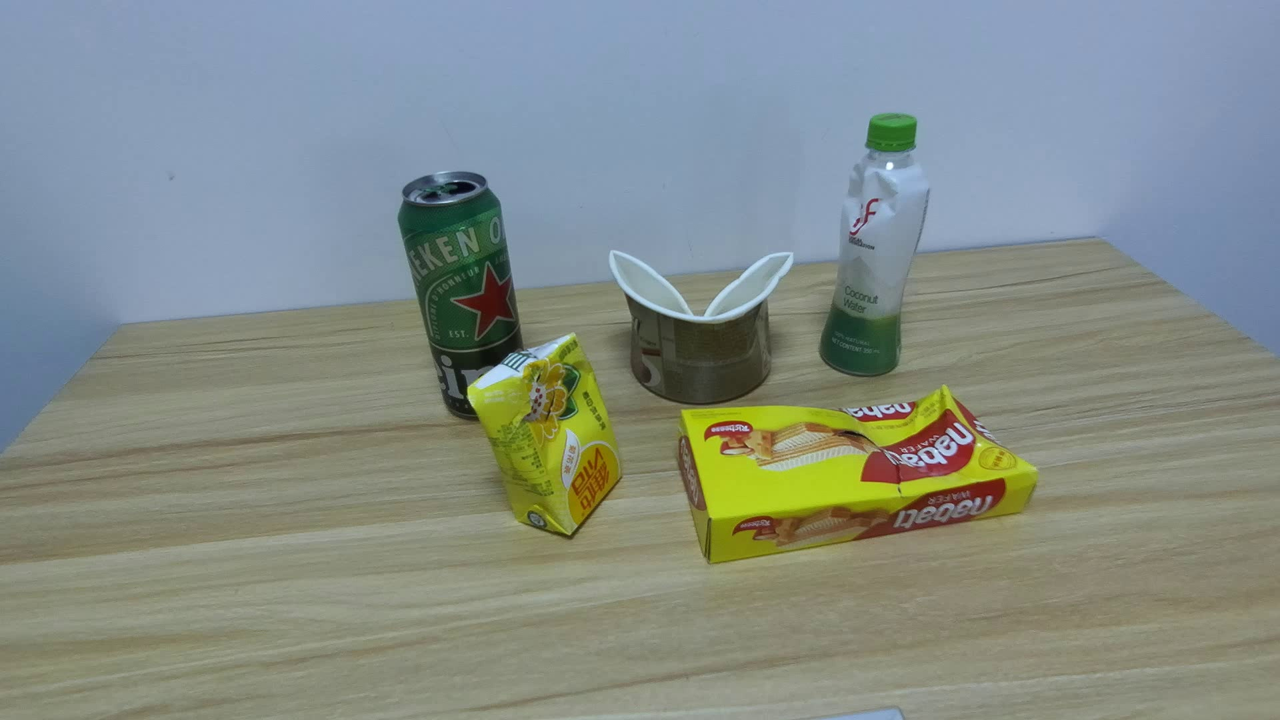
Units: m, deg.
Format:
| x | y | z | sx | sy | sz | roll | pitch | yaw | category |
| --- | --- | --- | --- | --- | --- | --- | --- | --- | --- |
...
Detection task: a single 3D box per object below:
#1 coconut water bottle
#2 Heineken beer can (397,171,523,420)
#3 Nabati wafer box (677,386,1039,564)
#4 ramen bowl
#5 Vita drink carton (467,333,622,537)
| x | y | z | sx | sy | sz | roll | pitch | yaw | category |
| --- | --- | --- | --- | --- | --- | --- | --- | --- | --- |
| 0.171 | -0.080 | 0.514 | 0.069 | 0.186 | 0.069 | -2 | 32 | 2 | coconut water bottle |
| -0.121 | -0.041 | 0.500 | 0.067 | 0.169 | 0.067 | -2 | 34 | 2 | Heineken beer can |
| 0.131 | 0.062 | 0.445 | 0.204 | 0.042 | 0.106 | -5 | 36 | -7 | Nabati wafer box |
| 0.041 | -0.030 | 0.533 | 0.137 | 0.098 | 0.137 | -4 | 34 | 3 | ramen bowl |
| -0.056 | 0.043 | 0.430 | 0.042 | 0.108 | 0.087 | 4 | 30 | 34 | Vita drink carton |
